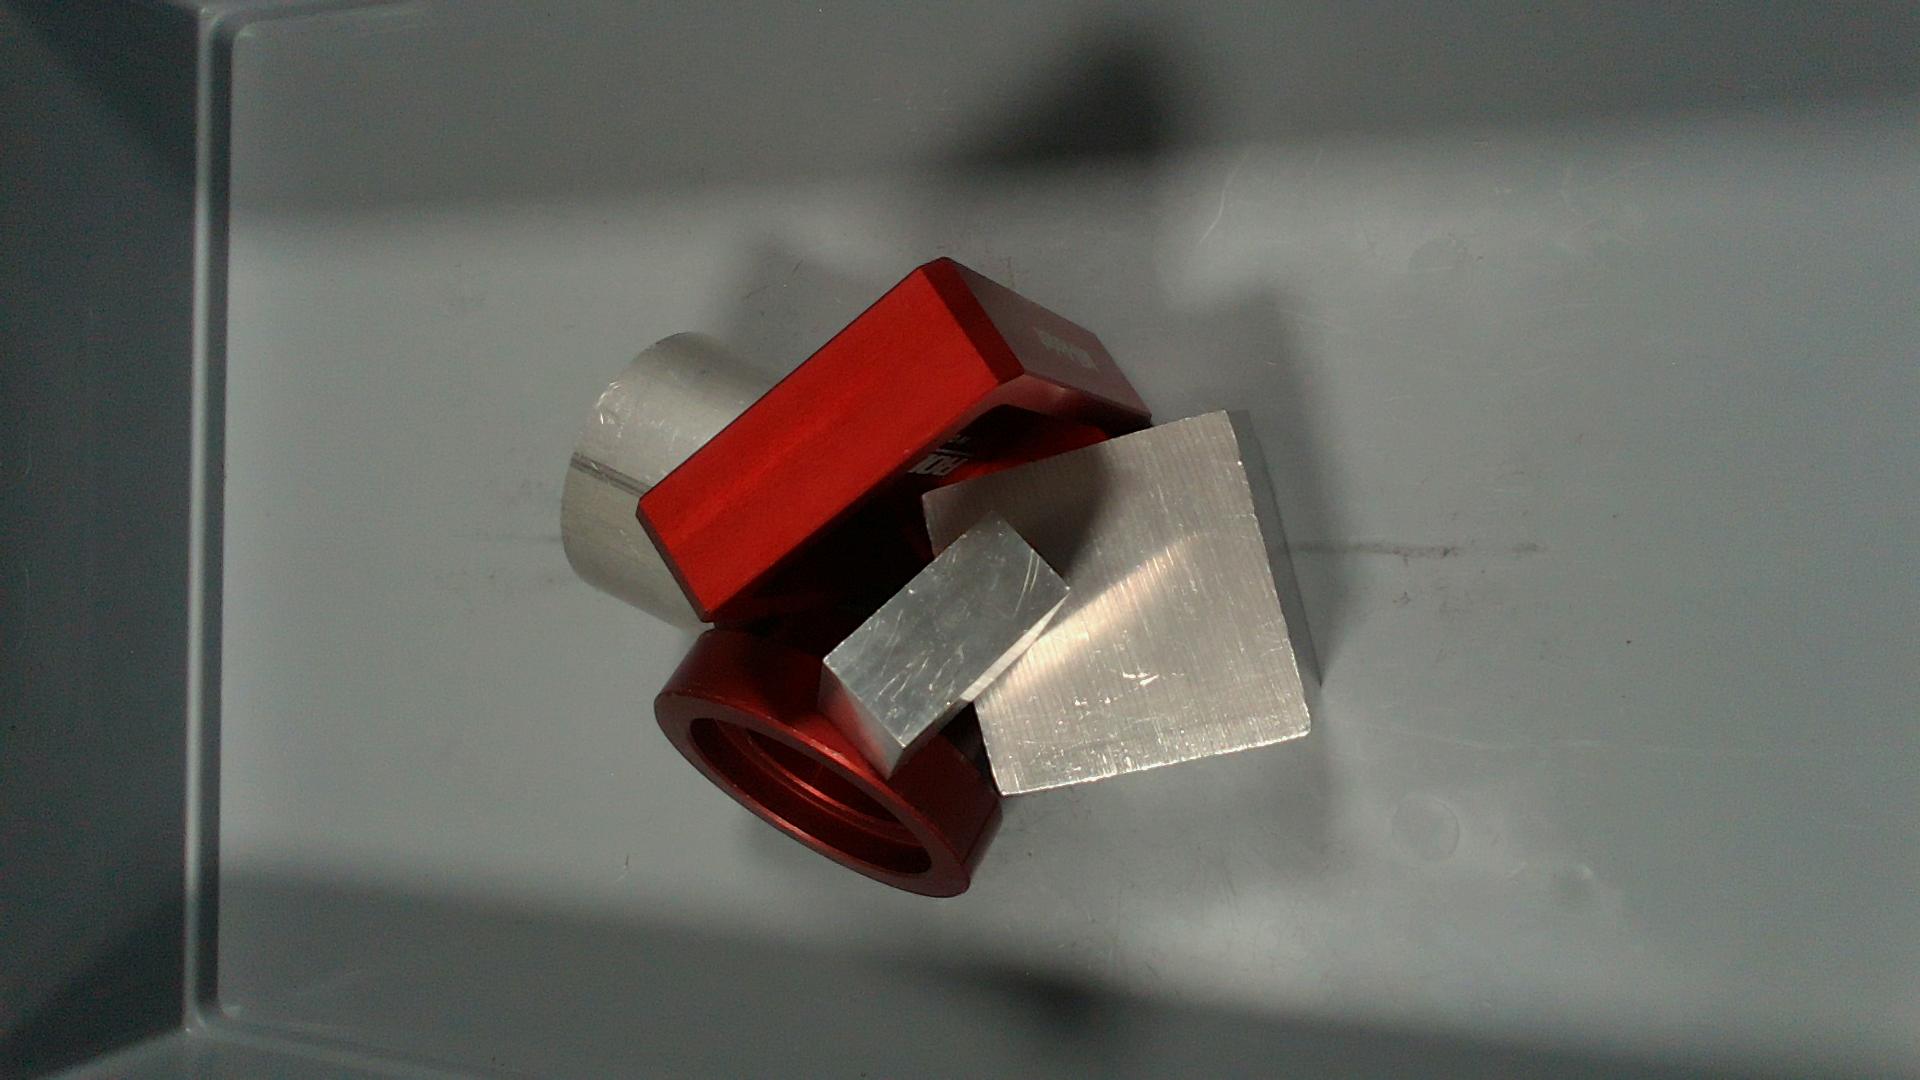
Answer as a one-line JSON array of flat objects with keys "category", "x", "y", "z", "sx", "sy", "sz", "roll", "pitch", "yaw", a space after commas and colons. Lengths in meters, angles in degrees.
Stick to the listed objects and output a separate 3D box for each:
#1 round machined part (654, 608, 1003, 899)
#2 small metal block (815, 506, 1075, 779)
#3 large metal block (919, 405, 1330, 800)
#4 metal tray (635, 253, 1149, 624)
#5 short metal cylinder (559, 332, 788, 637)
[{"category": "round machined part", "x": -0.031, "y": 0.054, "z": 0.377, "sx": 0.098, "sy": 0.098, "sz": 0.042, "roll": 22, "pitch": 62, "yaw": 19}, {"category": "small metal block", "x": -0.005, "y": 0.025, "z": 0.311, "sx": 0.050, "sy": 0.050, "sz": 0.025, "roll": -42, "pitch": 82, "yaw": -17}, {"category": "large metal block", "x": 0.045, "y": 0.015, "z": 0.357, "sx": 0.080, "sy": 0.050, "sz": 0.080, "roll": -15, "pitch": 89, "yaw": 19}, {"category": "metal tray", "x": -0.009, "y": -0.021, "z": 0.342, "sx": 0.090, "sy": 0.130, "sz": 0.030, "roll": -37, "pitch": 79, "yaw": 16}, {"category": "short metal cylinder", "x": -0.066, "y": -0.013, "z": 0.389, "sx": 0.050, "sy": 0.080, "sz": 0.080, "roll": 24, "pitch": 98, "yaw": 19}]
